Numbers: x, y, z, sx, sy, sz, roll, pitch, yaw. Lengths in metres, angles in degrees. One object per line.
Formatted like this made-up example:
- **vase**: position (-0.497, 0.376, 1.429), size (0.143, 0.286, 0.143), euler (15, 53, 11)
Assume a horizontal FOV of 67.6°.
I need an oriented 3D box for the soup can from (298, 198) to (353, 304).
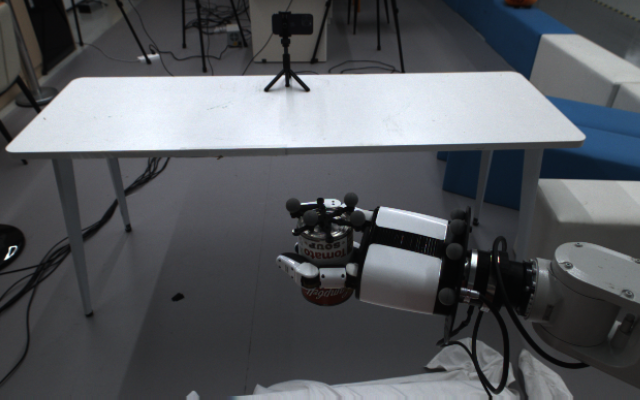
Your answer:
- **soup can**: position (0.010, 0.069, 0.588), size (0.067, 0.101, 0.067), euler (-2, 32, 1)
